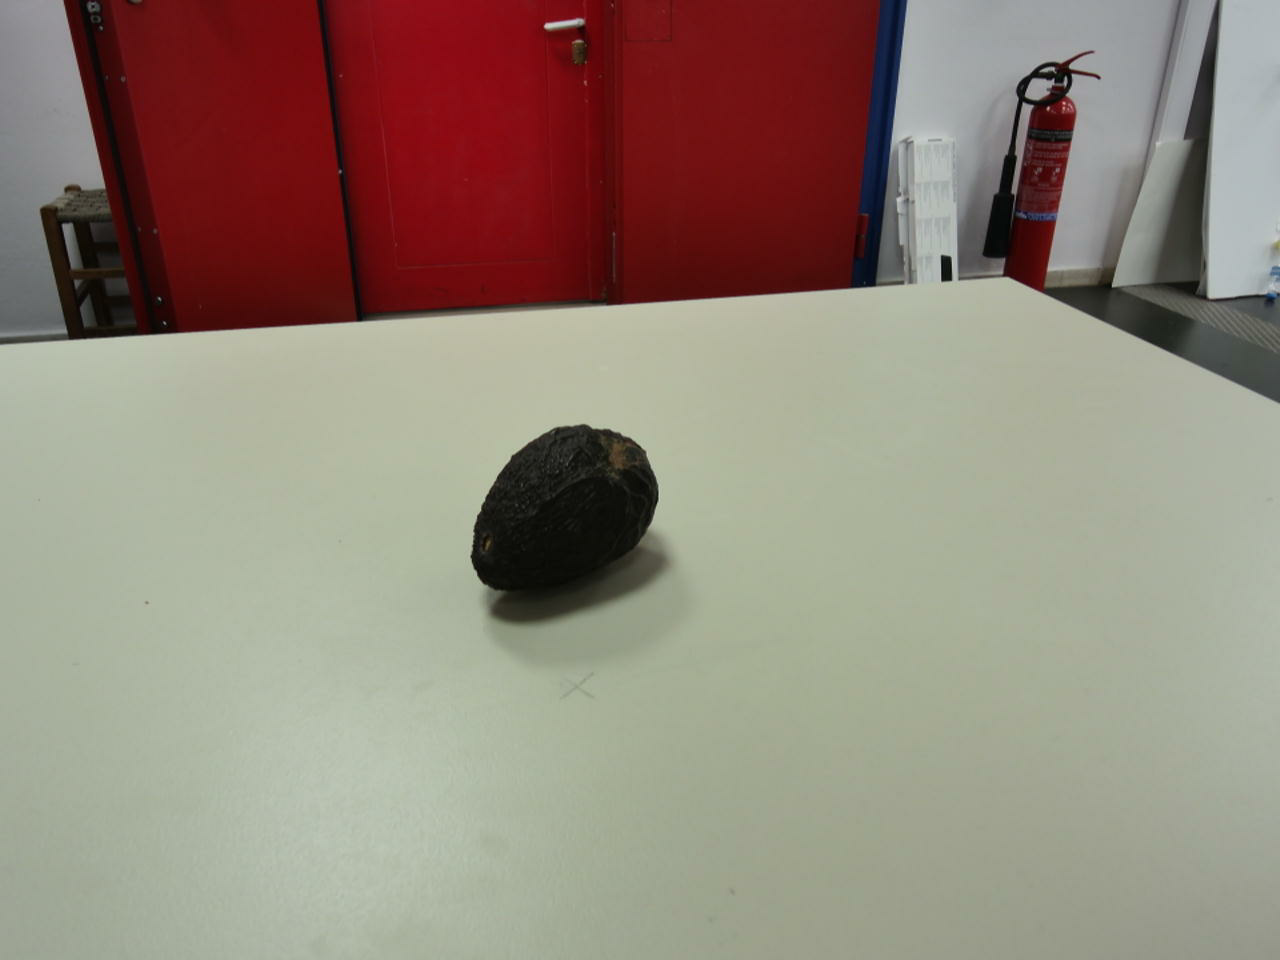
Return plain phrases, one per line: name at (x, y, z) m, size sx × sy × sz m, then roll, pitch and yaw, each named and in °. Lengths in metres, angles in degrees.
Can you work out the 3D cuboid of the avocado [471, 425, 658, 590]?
avocado at (-0.033, 0.010, 0.422) m, size 0.092 × 0.062 × 0.062 m, roll -17°, pitch 30°, yaw -33°
